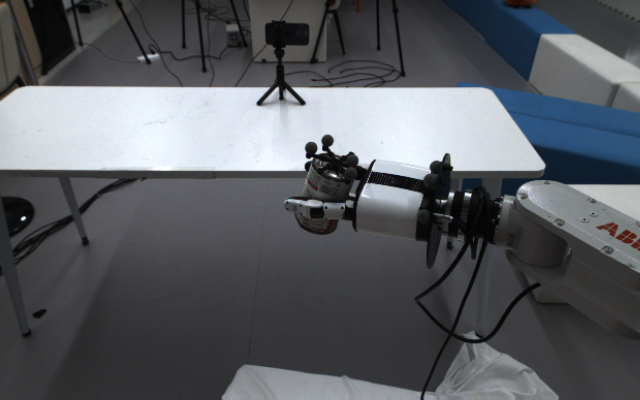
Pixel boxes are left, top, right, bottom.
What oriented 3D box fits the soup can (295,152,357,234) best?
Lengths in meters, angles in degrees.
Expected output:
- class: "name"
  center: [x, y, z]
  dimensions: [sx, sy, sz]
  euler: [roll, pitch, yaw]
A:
- class: "soup can"
  center: [0.008, -0.008, 0.708]
  dimensions: [0.067, 0.101, 0.067]
  euler: [13, 35, -9]
